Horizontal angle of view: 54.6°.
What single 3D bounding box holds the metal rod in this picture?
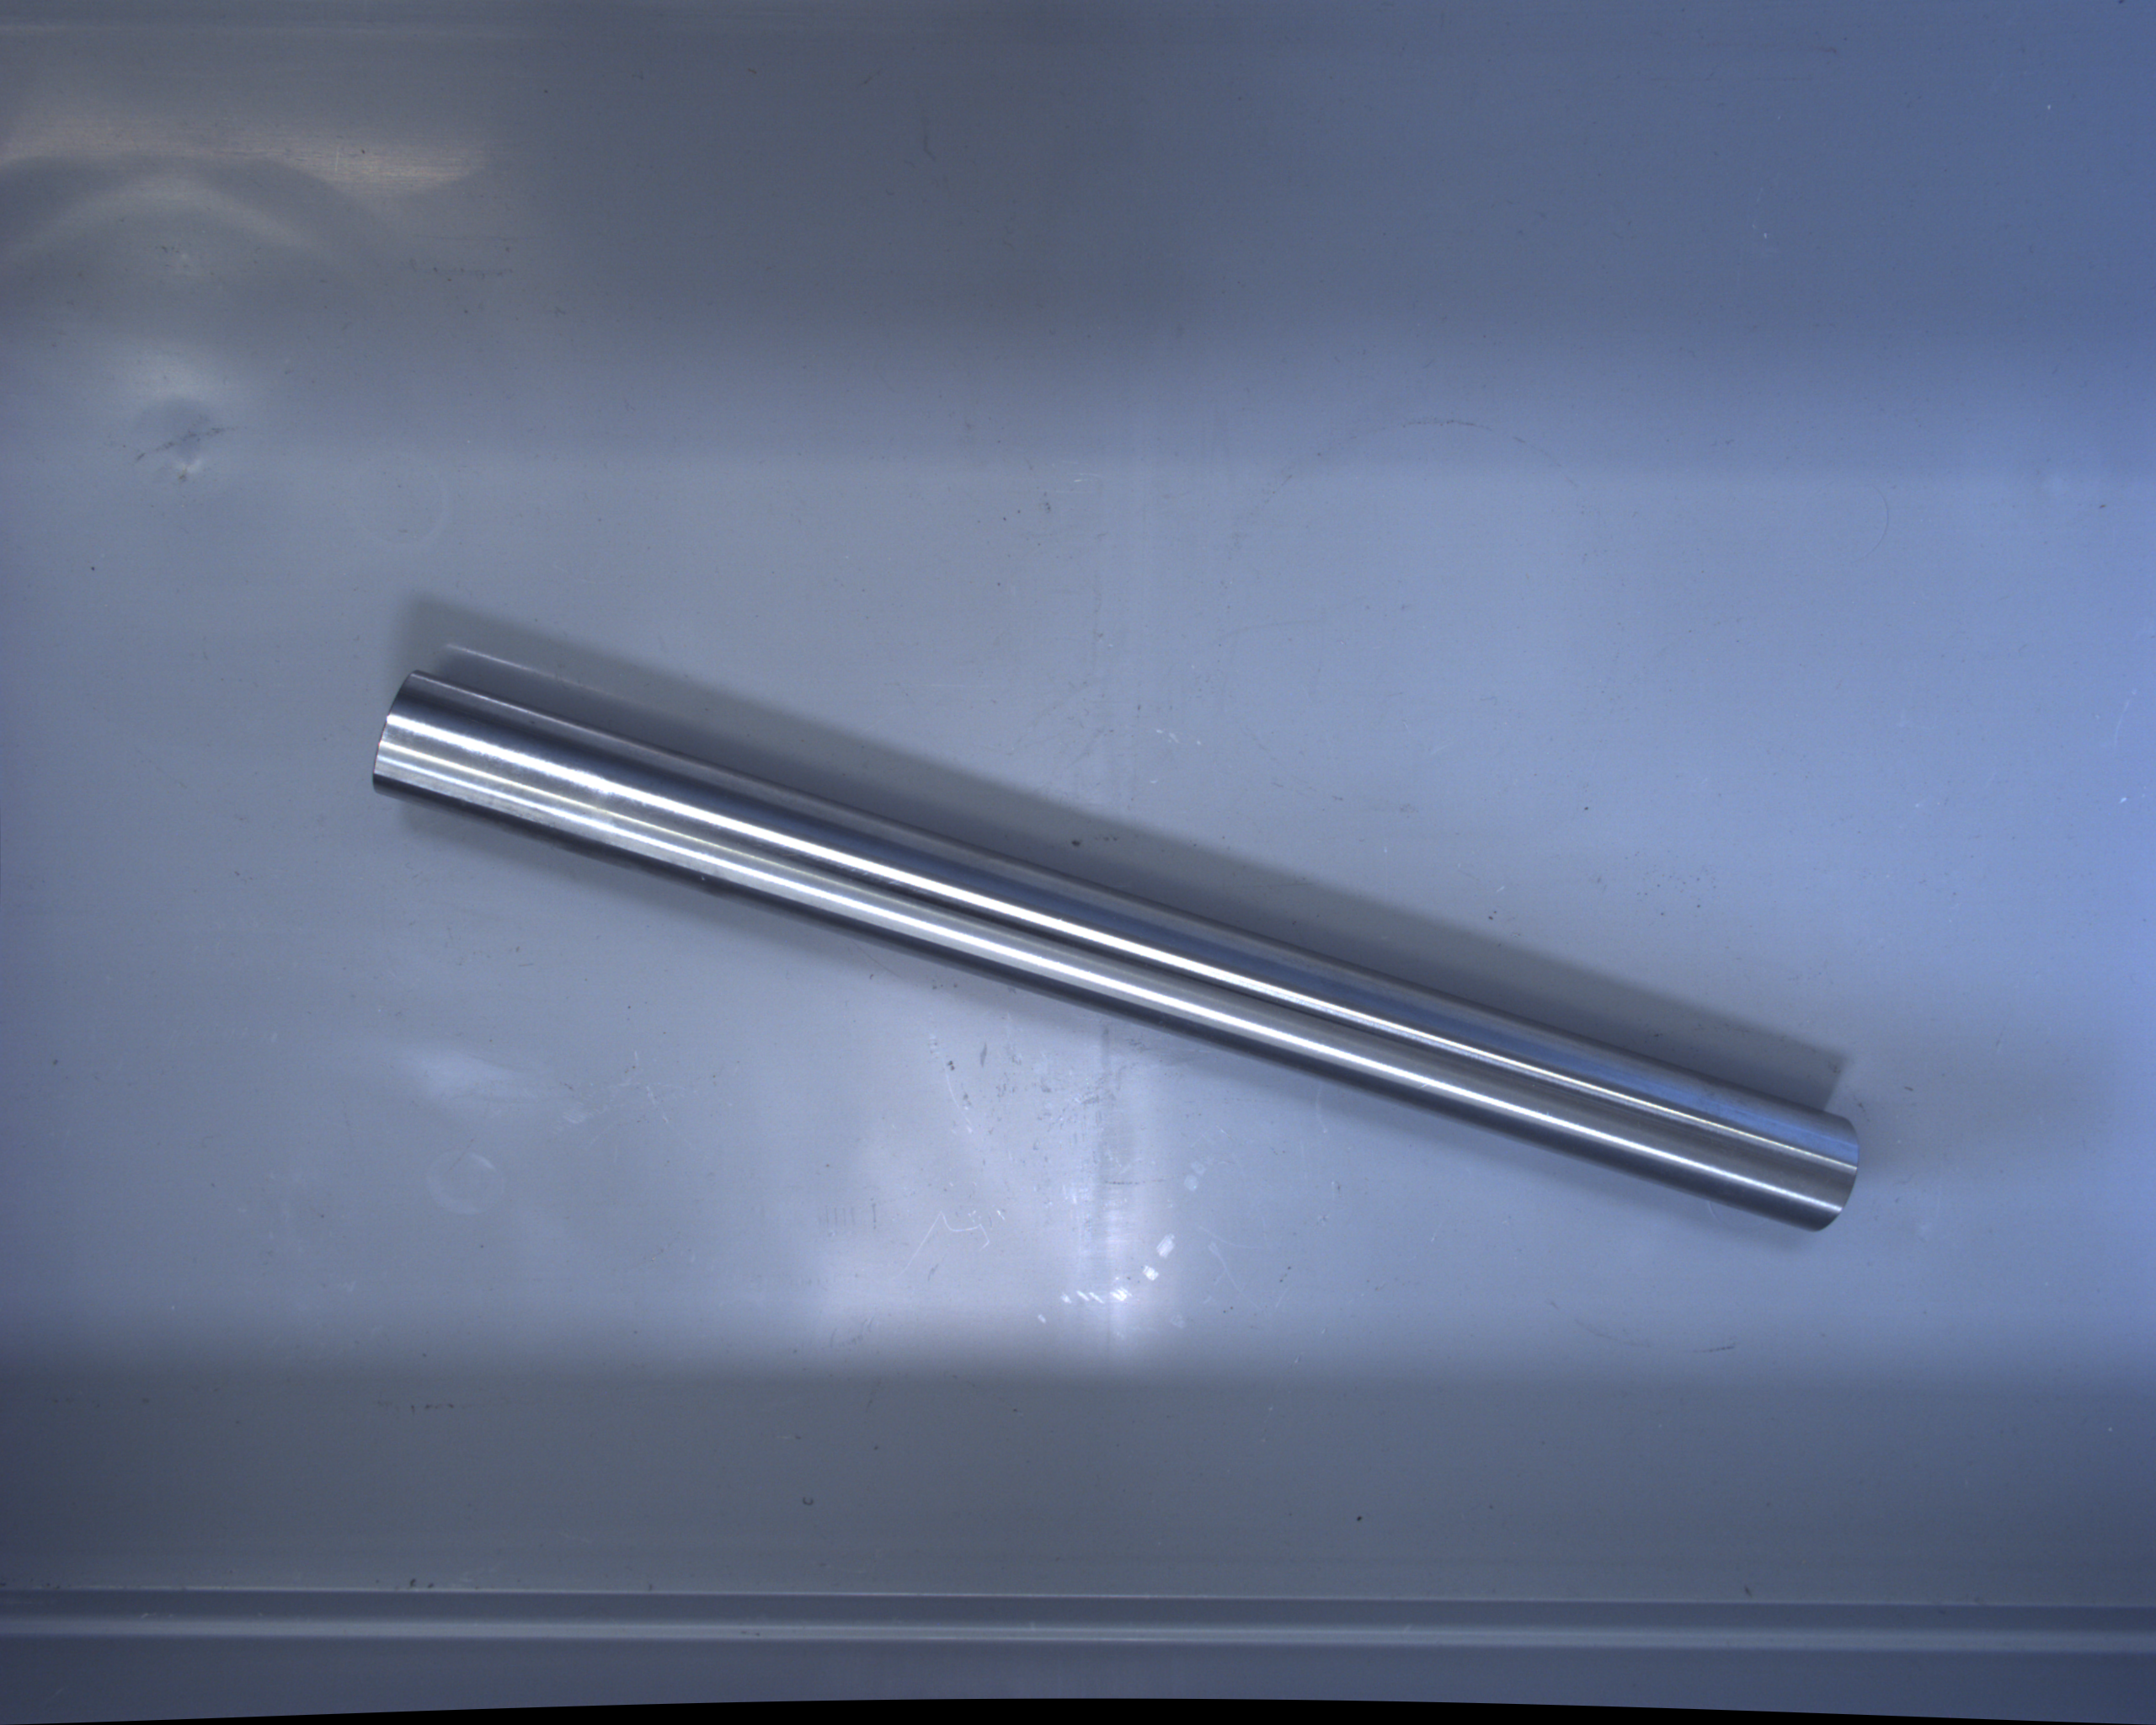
[{"bbox_3d":[0.013,0.020,0.417,0.302,0.025,0.025,17,109,-7],"label":"metal rod"}]
